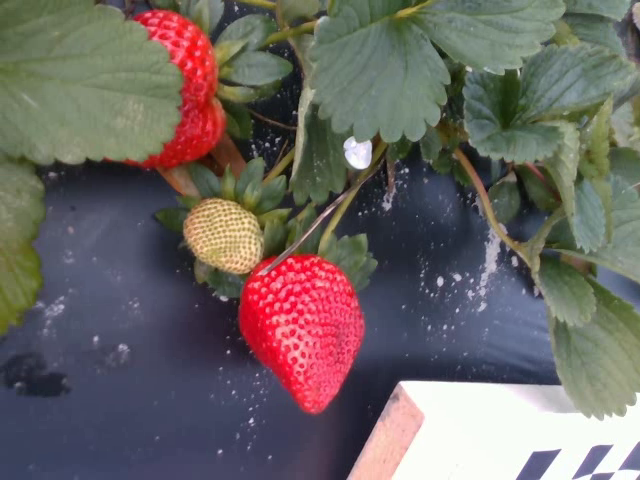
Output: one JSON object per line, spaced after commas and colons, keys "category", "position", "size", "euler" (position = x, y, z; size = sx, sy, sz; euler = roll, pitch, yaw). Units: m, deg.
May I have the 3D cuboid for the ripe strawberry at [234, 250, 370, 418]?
{"category": "ripe strawberry", "position": [-0.006, 0.038, 0.199], "size": [0.057, 0.056, 0.065], "euler": [-16, 39, 2]}
